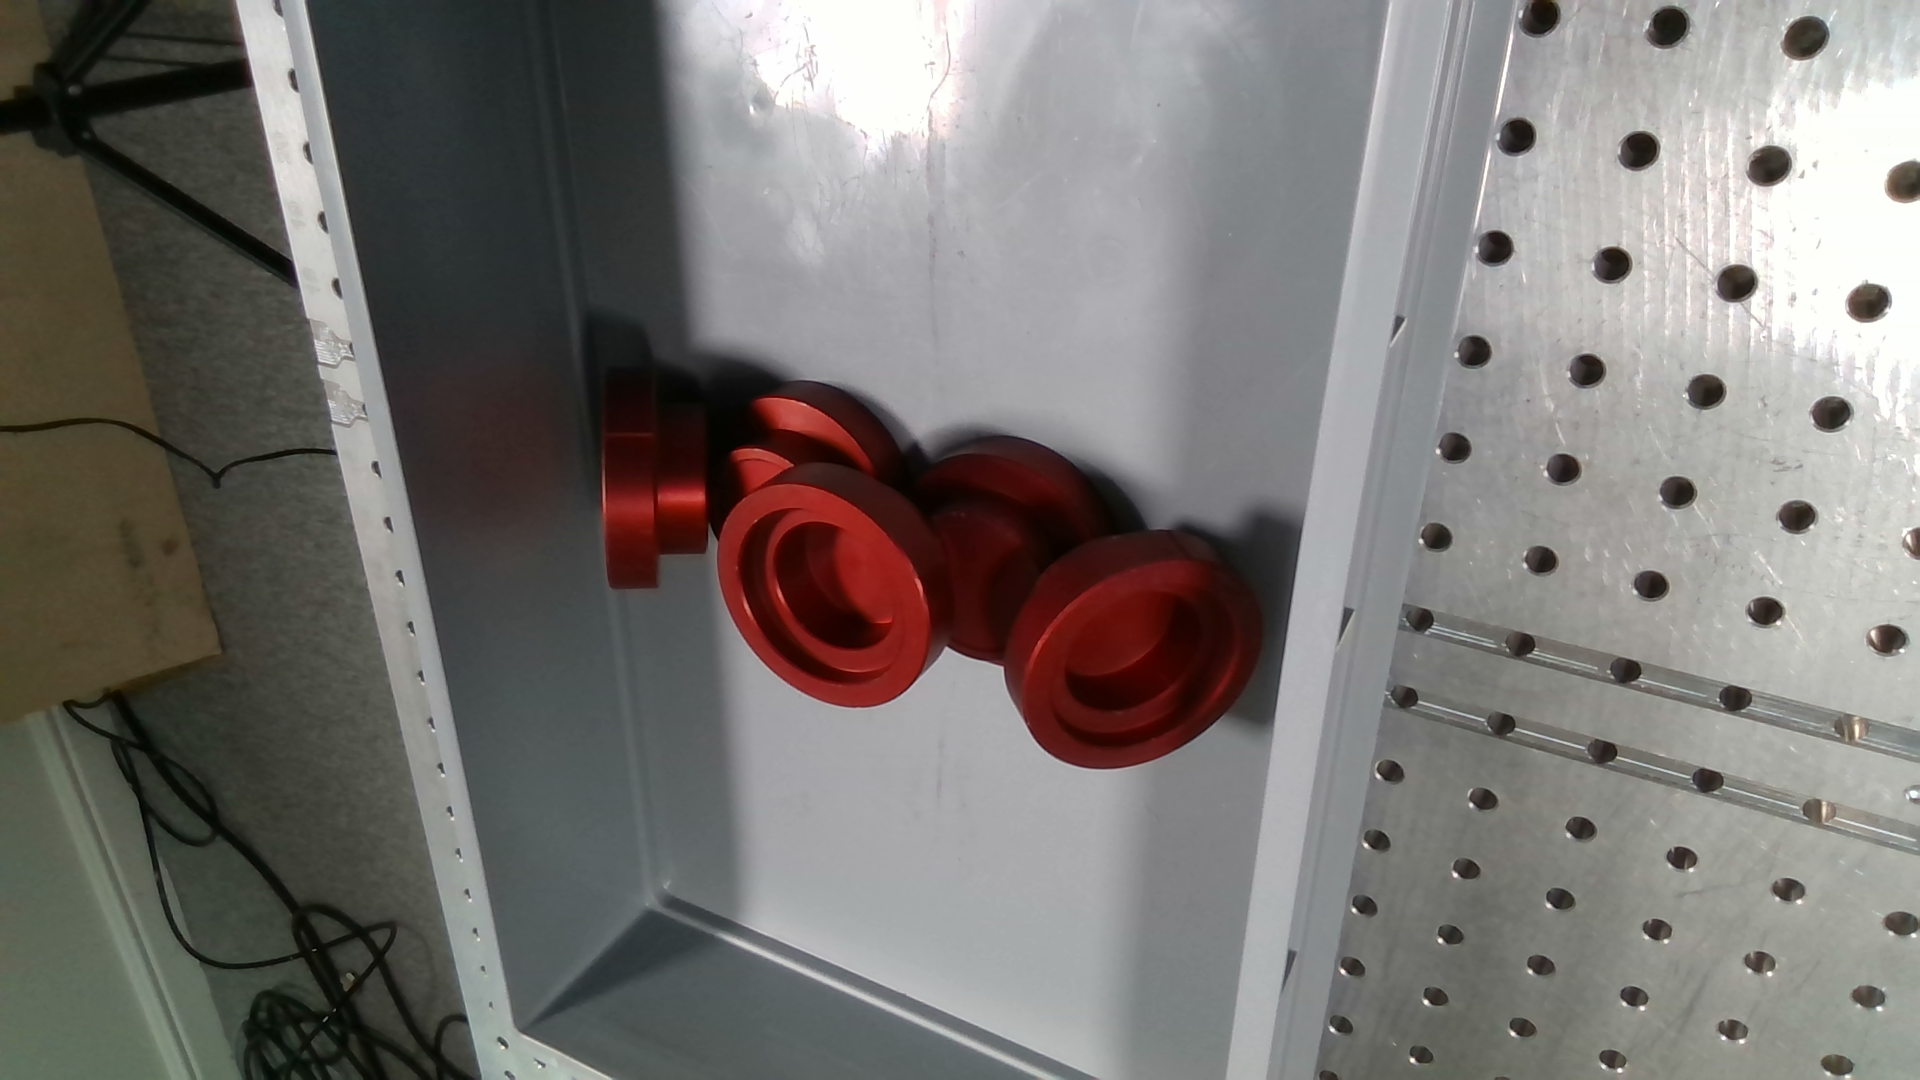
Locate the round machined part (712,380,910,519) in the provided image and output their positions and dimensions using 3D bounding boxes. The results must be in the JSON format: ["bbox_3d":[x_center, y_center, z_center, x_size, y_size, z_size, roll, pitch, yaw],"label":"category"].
[{"bbox_3d":[-0.072,-0.017,0.602,0.098,0.042,0.098,14,122,25],"label":"round machined part"}]

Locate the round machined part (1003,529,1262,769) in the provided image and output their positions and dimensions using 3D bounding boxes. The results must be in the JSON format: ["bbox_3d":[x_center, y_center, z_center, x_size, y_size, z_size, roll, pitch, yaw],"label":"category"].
[{"bbox_3d":[0.062,0.037,0.526,0.042,0.098,0.098,-121,32,-52],"label":"round machined part"}]

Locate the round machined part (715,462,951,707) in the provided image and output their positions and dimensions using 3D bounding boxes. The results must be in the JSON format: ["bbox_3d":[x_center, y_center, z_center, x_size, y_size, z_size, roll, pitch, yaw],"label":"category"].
[{"bbox_3d":[-0.046,0.014,0.547,0.098,0.042,0.098,14,122,25],"label":"round machined part"}]

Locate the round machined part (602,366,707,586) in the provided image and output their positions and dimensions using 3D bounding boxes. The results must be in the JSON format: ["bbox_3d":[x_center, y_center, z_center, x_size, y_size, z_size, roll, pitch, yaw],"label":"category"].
[{"bbox_3d":[-0.134,-0.028,0.611,0.042,0.098,0.098,0,122,-11],"label":"round machined part"}]

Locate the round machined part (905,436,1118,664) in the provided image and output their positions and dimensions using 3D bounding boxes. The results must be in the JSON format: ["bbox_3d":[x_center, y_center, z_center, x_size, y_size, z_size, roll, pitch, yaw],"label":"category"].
[{"bbox_3d":[0.014,0.010,0.564,0.098,0.042,0.098,14,122,25],"label":"round machined part"}]
